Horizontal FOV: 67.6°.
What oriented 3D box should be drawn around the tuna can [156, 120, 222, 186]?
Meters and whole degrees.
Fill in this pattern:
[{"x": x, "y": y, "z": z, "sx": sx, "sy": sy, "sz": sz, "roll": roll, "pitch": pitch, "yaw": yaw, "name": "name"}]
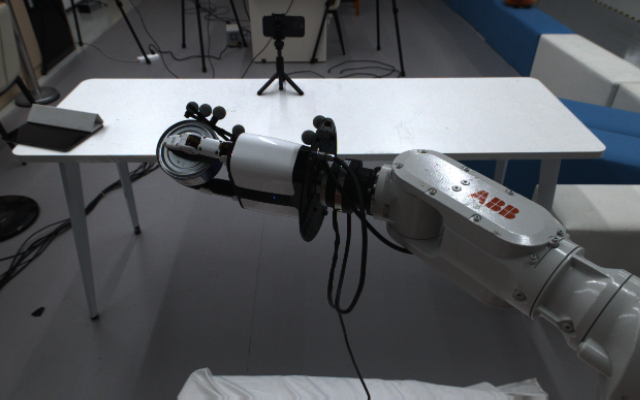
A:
[{"x": -0.175, "y": -0.062, "z": 0.659, "sx": 0.085, "sy": 0.034, "sz": 0.085, "roll": -2, "pitch": 70, "yaw": 6, "name": "tuna can"}]
